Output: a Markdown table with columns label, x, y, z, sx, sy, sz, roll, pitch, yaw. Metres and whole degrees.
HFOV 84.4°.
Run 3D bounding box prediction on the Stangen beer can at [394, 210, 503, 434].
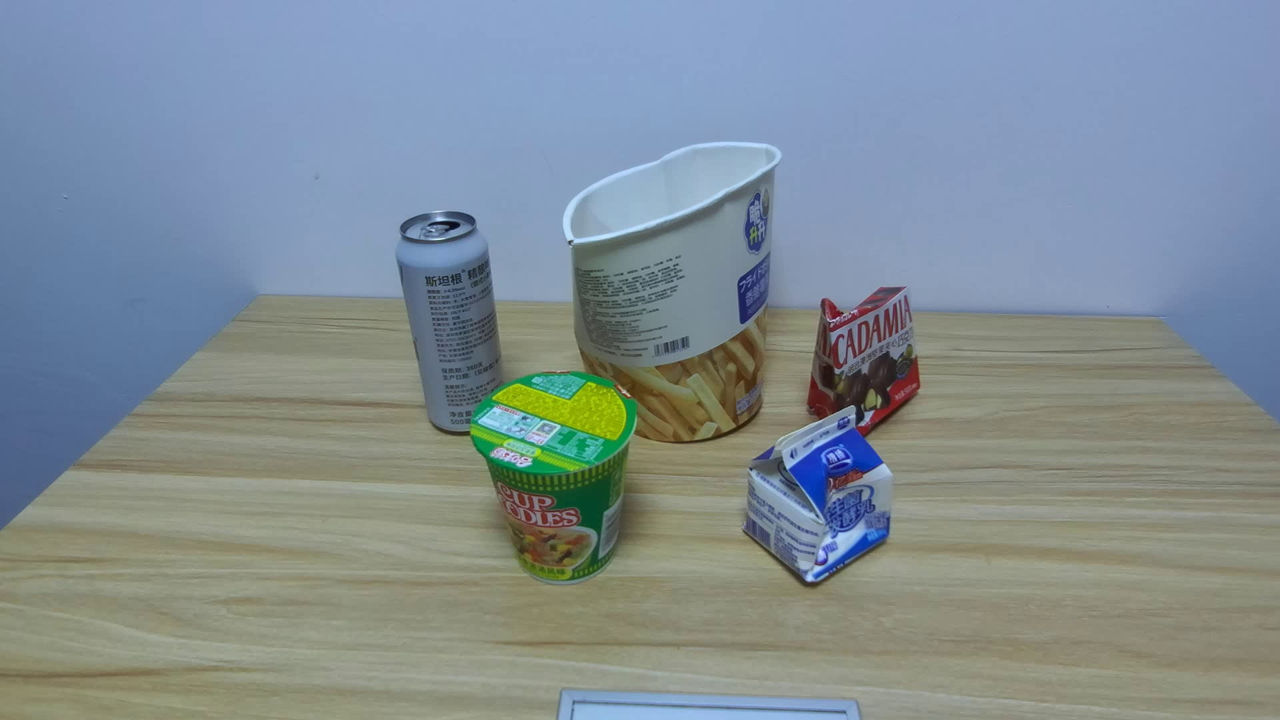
| label | x | y | z | sx | sy | sz | roll | pitch | yaw |
| --- | --- | --- | --- | --- | --- | --- | --- | --- | --- |
| Stangen beer can | -0.145 | -0.026 | 0.553 | 0.067 | 0.171 | 0.067 | 0 | 32 | 0 |

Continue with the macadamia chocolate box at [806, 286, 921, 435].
| label | x | y | z | sx | sy | sz | roll | pitch | yaw |
| --- | --- | --- | --- | --- | --- | --- | --- | --- | --- |
| macadamia chocolate box | 0.182 | -0.003 | 0.569 | 0.127 | 0.112 | 0.056 | -25 | 38 | -34 |

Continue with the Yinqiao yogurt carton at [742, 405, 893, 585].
| label | x | y | z | sx | sy | sz | roll | pitch | yaw |
| --- | --- | --- | --- | --- | --- | --- | --- | --- | --- |
| Yinqiao yogurt carton | 0.113 | 0.078 | 0.458 | 0.078 | 0.094 | 0.070 | -20 | 31 | -28 |

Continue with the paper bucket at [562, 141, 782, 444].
| label | x | y | z | sx | sy | sz | roll | pitch | yaw |
| --- | --- | --- | --- | --- | --- | --- | --- | --- | --- |
| paper bucket | 0.032 | -0.053 | 0.563 | 0.147 | 0.199 | 0.218 | 3 | 32 | 6 |

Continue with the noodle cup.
| label | x | y | z | sx | sy | sz | roll | pitch | yaw |
| --- | --- | --- | --- | --- | --- | --- | --- | --- | --- |
| noodle cup | -0.048 | 0.079 | 0.444 | 0.097 | 0.110 | 0.097 | -1 | 33 | 1 |
